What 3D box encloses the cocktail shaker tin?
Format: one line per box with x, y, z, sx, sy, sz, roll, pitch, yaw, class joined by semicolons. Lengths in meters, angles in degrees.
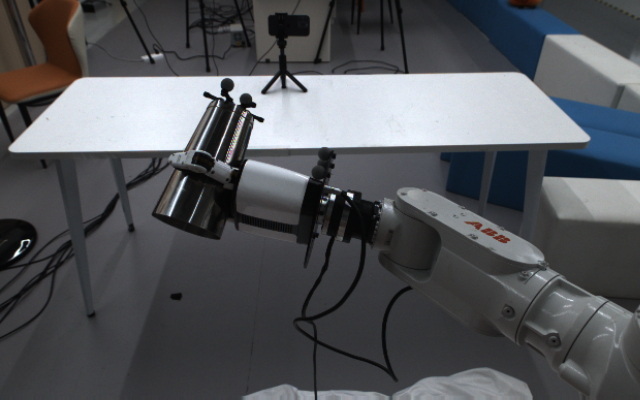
-0.148;-0.042;0.642;0.093;0.093;0.170;14;74;17;cocktail shaker tin
